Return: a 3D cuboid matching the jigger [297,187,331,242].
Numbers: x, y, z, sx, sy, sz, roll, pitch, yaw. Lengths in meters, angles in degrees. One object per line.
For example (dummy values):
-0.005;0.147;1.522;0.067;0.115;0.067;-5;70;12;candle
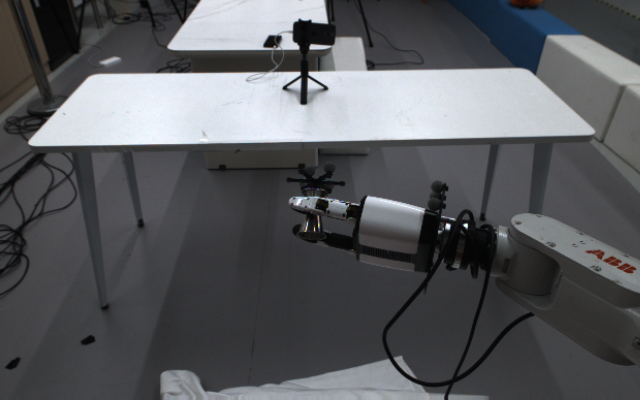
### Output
-0.012;0.020;0.716;0.043;0.043;0.071;4;71;3;jigger
